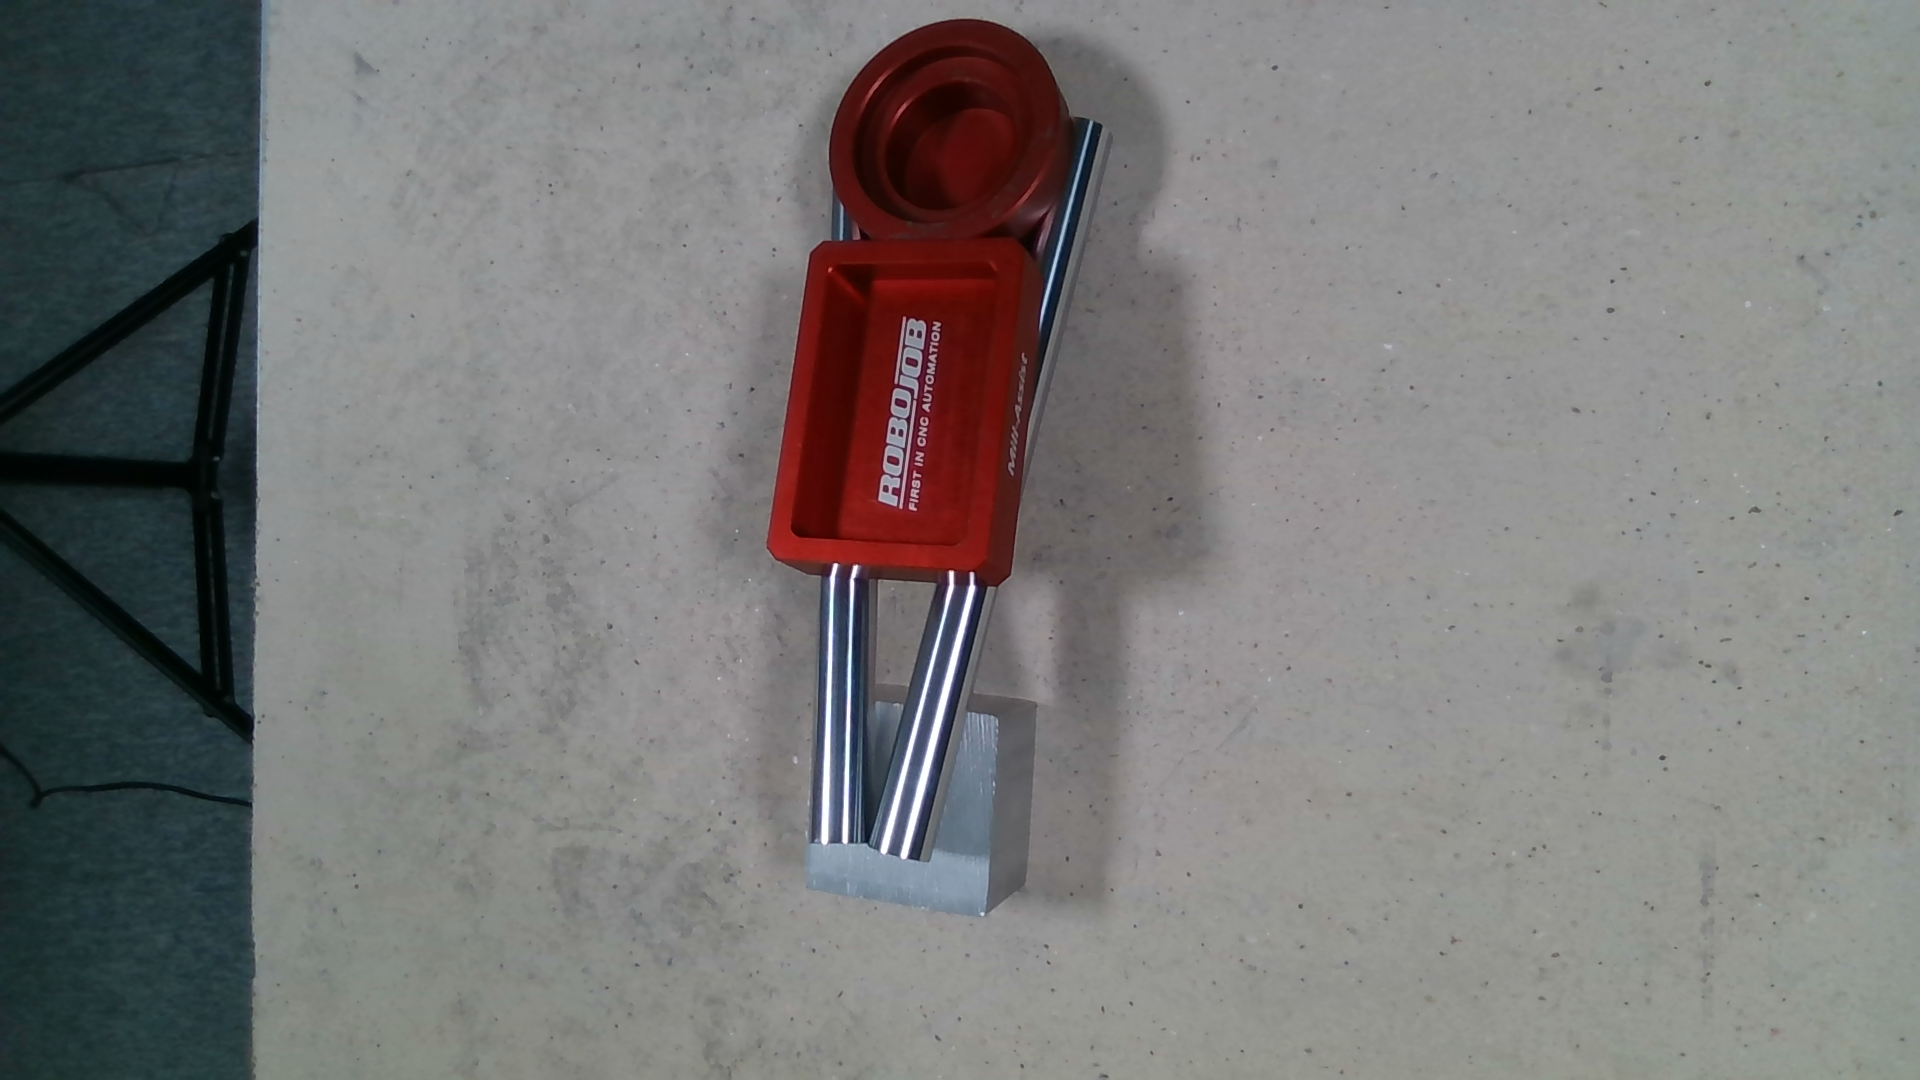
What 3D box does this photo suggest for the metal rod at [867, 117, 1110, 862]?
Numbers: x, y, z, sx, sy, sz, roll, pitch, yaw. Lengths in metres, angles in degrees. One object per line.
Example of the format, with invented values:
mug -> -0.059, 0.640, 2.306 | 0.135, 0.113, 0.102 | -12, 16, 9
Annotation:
metal rod -> 0.013, -0.024, 0.546 | 0.025, 0.025, 0.300 | 12, 82, 20

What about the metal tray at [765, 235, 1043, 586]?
metal tray -> -0.021, -0.051, 0.535 | 0.090, 0.030, 0.130 | 3, 79, 20

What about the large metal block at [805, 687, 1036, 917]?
large metal block -> -0.016, 0.106, 0.578 | 0.080, 0.050, 0.080 | 4, 92, 20

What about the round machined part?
round machined part -> -0.001, -0.159, 0.569 | 0.098, 0.042, 0.098 | -4, 79, 19

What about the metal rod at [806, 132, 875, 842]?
metal rod -> -0.047, -0.029, 0.568 | 0.025, 0.025, 0.299 | -4, 76, 20
